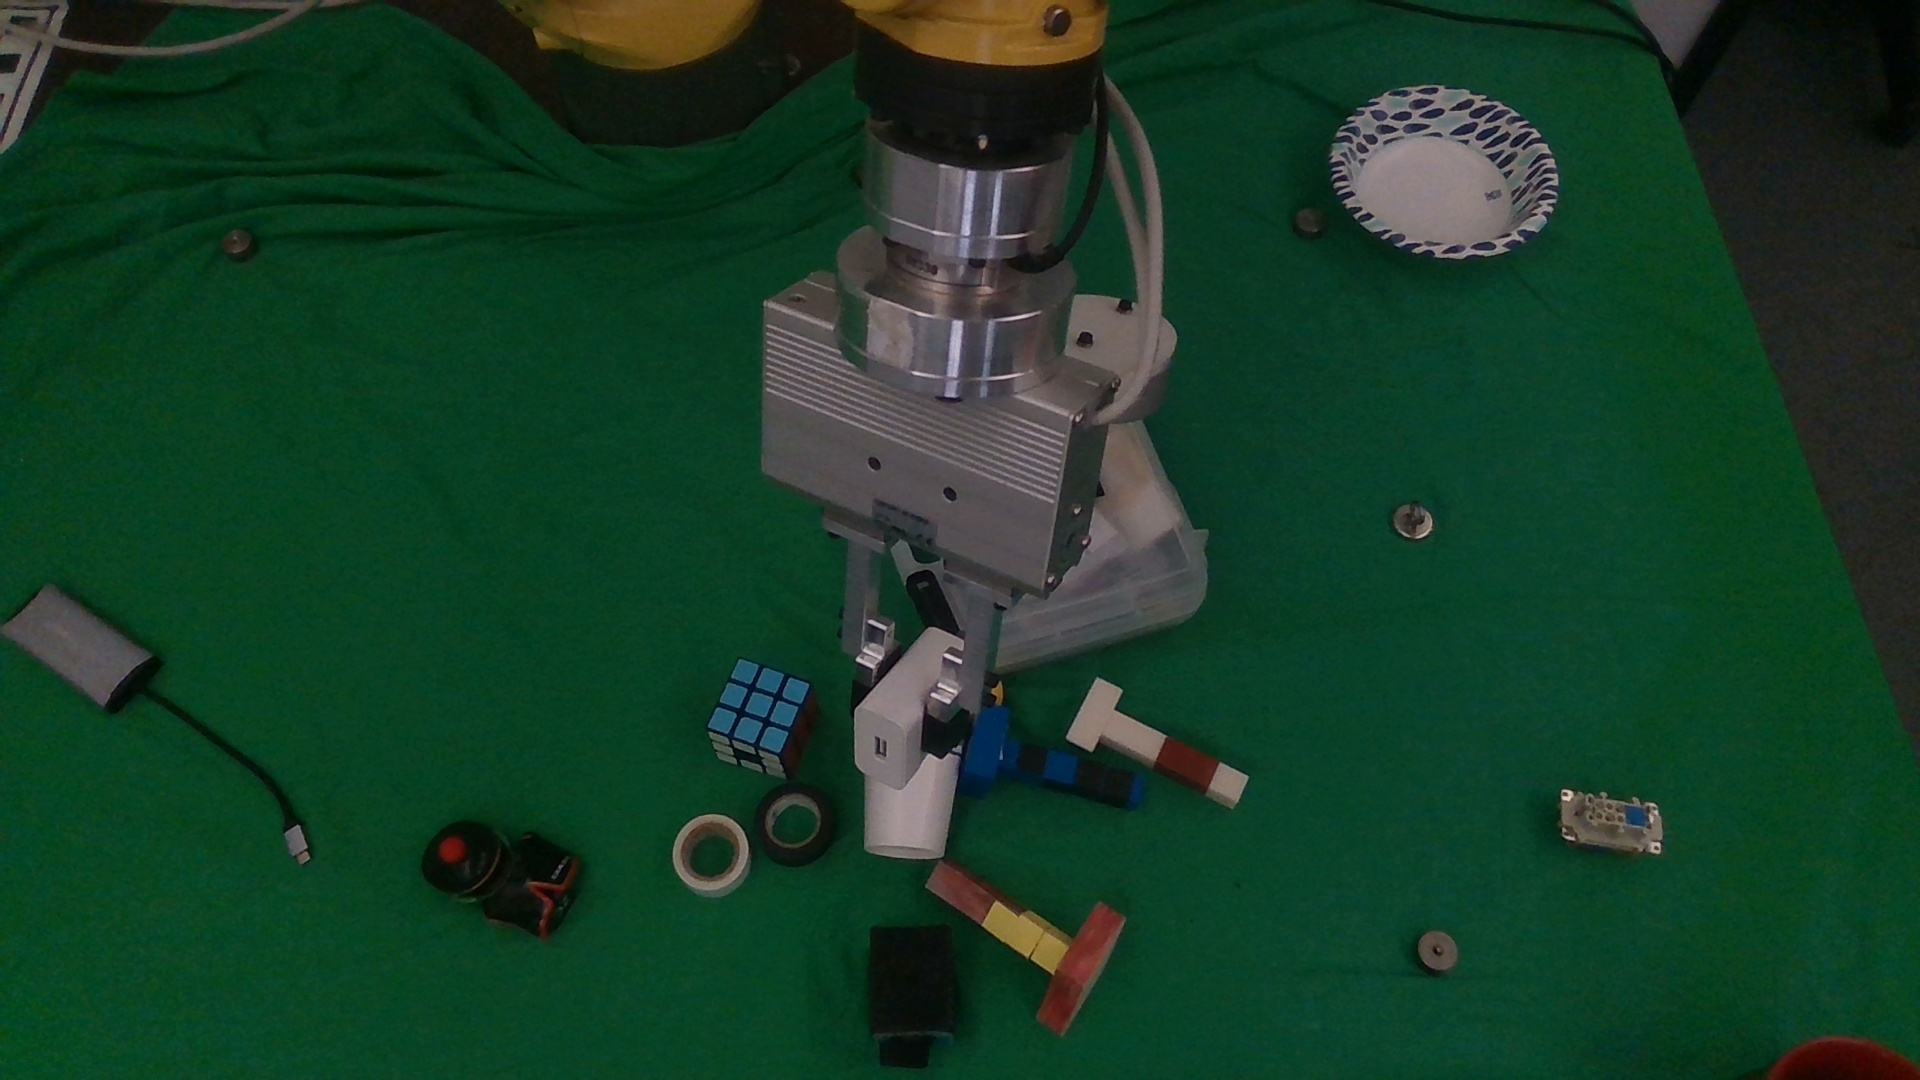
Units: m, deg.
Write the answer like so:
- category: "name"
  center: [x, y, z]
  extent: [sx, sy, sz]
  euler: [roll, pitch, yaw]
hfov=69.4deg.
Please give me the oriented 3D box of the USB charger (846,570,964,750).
- category: "USB charger"
  center: [-0.014, 0.041, 0.532]
  extent: [0.029, 0.044, 0.075]
  euler: [24, 49, 11]

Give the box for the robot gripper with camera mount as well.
- category: "robot gripper with camera mount"
  center: [0.024, -0.038, 0.536]
  extent: [0.119, 0.158, 0.193]
  euler: [25, 39, 21]
